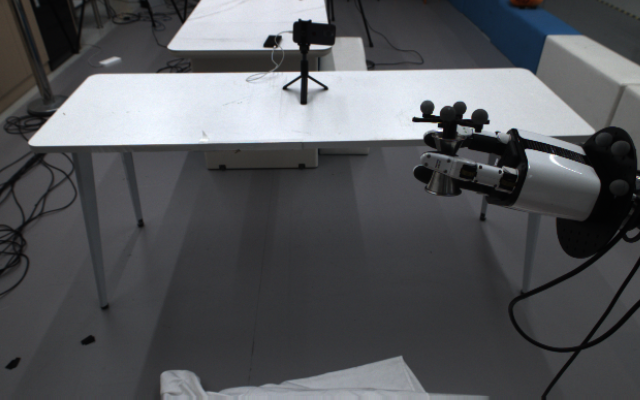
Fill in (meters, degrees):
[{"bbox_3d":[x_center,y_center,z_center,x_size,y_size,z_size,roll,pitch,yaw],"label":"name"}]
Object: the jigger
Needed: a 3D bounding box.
[{"bbox_3d":[0.149,-0.045,0.583,0.043,0.071,0.043,1,20,0],"label":"jigger"}]
